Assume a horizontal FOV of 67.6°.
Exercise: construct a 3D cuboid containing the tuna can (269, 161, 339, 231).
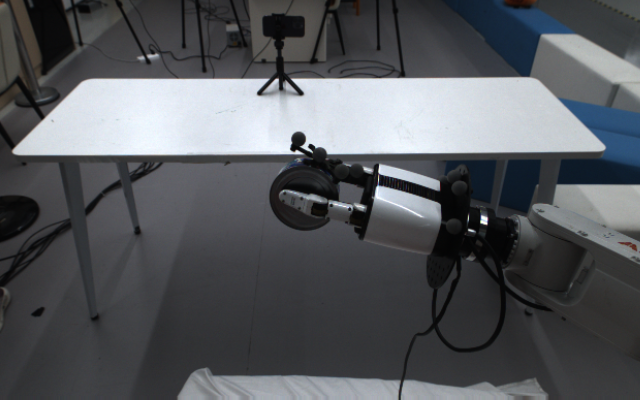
[{"bbox_3d":[-0.017,-0.007,0.605,0.085,0.085,0.034,4,20,3],"label":"tuna can"}]
